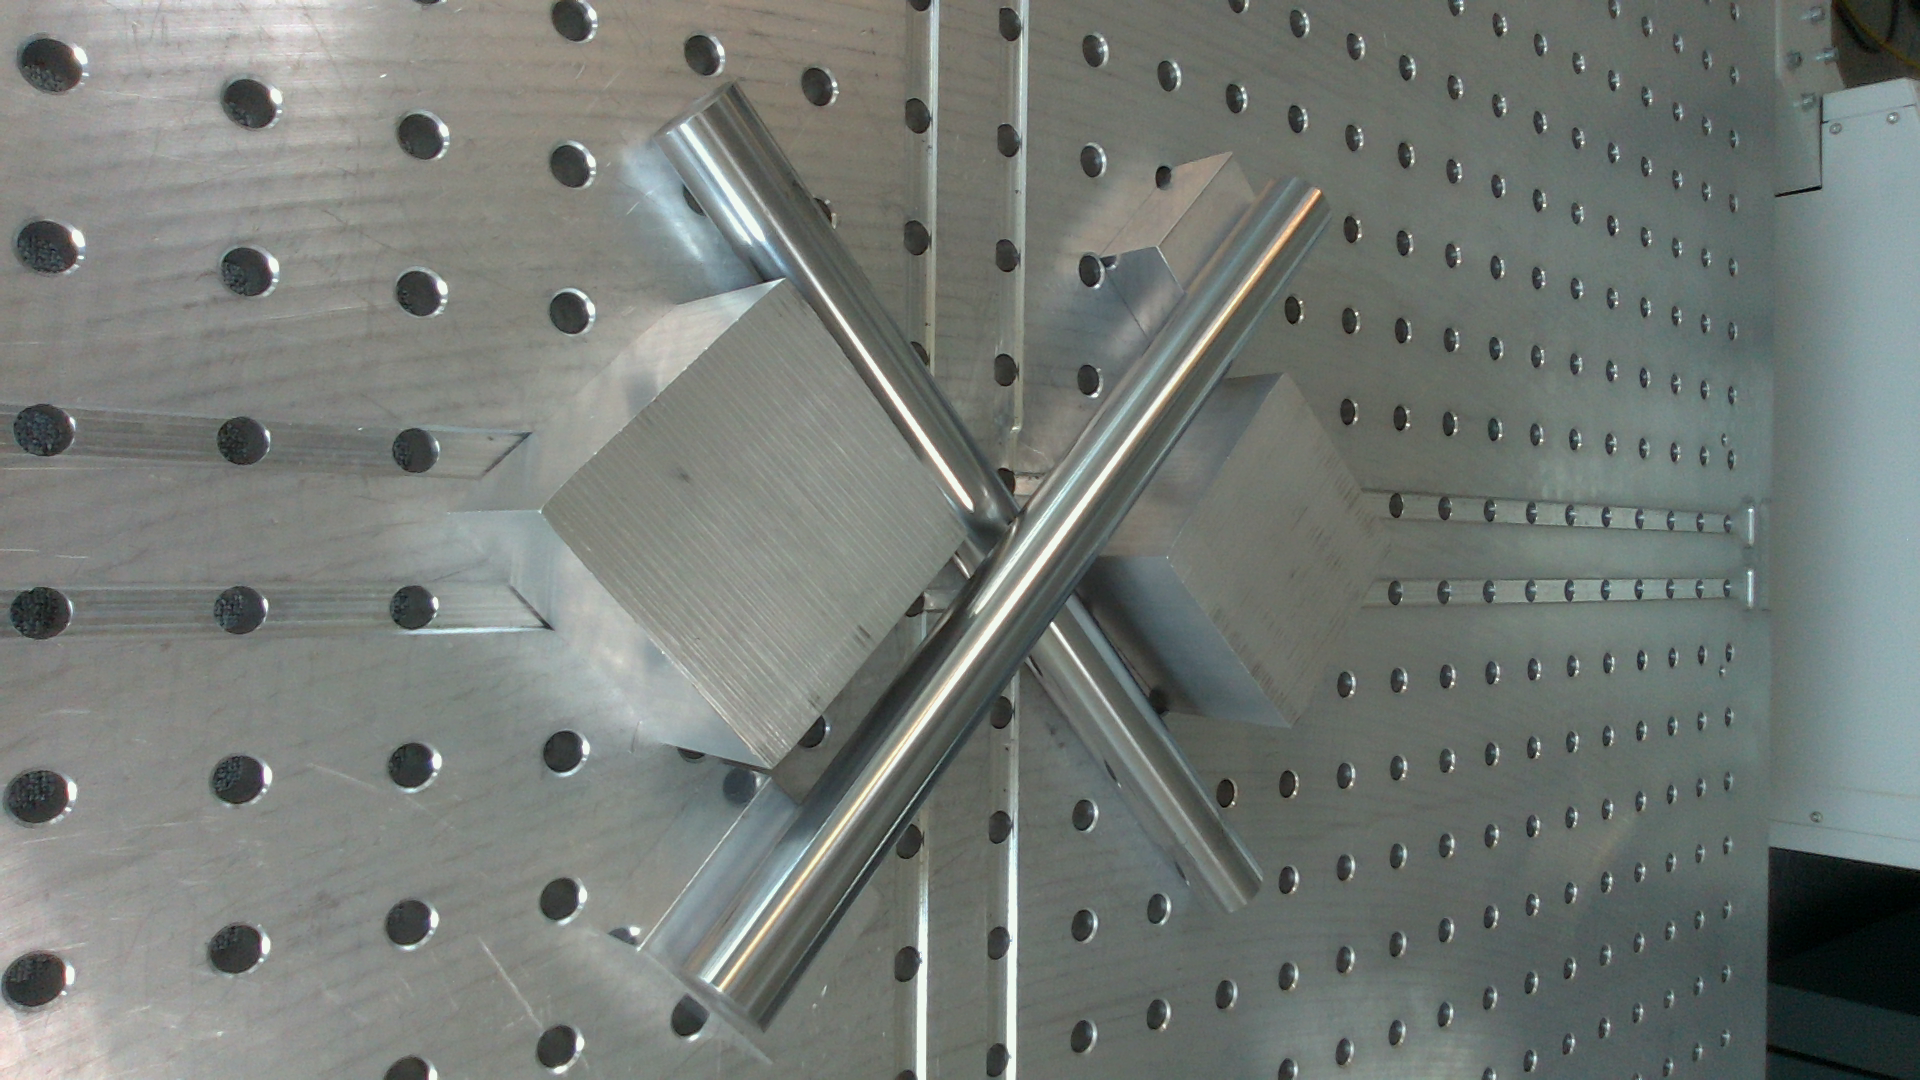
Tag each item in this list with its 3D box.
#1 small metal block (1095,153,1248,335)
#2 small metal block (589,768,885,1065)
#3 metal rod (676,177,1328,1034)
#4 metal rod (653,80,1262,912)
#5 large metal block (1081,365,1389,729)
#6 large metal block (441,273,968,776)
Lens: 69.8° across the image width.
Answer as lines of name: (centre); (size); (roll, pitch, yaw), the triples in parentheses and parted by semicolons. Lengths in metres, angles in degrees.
small metal block: (0.079, -0.091, 0.458); (0.050, 0.025, 0.050); (-52, 120, -27)
small metal block: (-0.055, 0.093, 0.346); (0.050, 0.025, 0.050); (52, 60, -27)
metal rod: (0.027, -0.002, 0.381); (0.025, 0.025, 0.301); (52, 60, -27)
metal rod: (0.013, 0.005, 0.401); (0.025, 0.025, 0.301); (-50, 119, -28)
large metal block: (0.085, 0.002, 0.447); (0.080, 0.050, 0.080); (51, 60, -28)
large metal block: (-0.058, -0.004, 0.328); (0.080, 0.050, 0.080); (-51, 120, -28)
